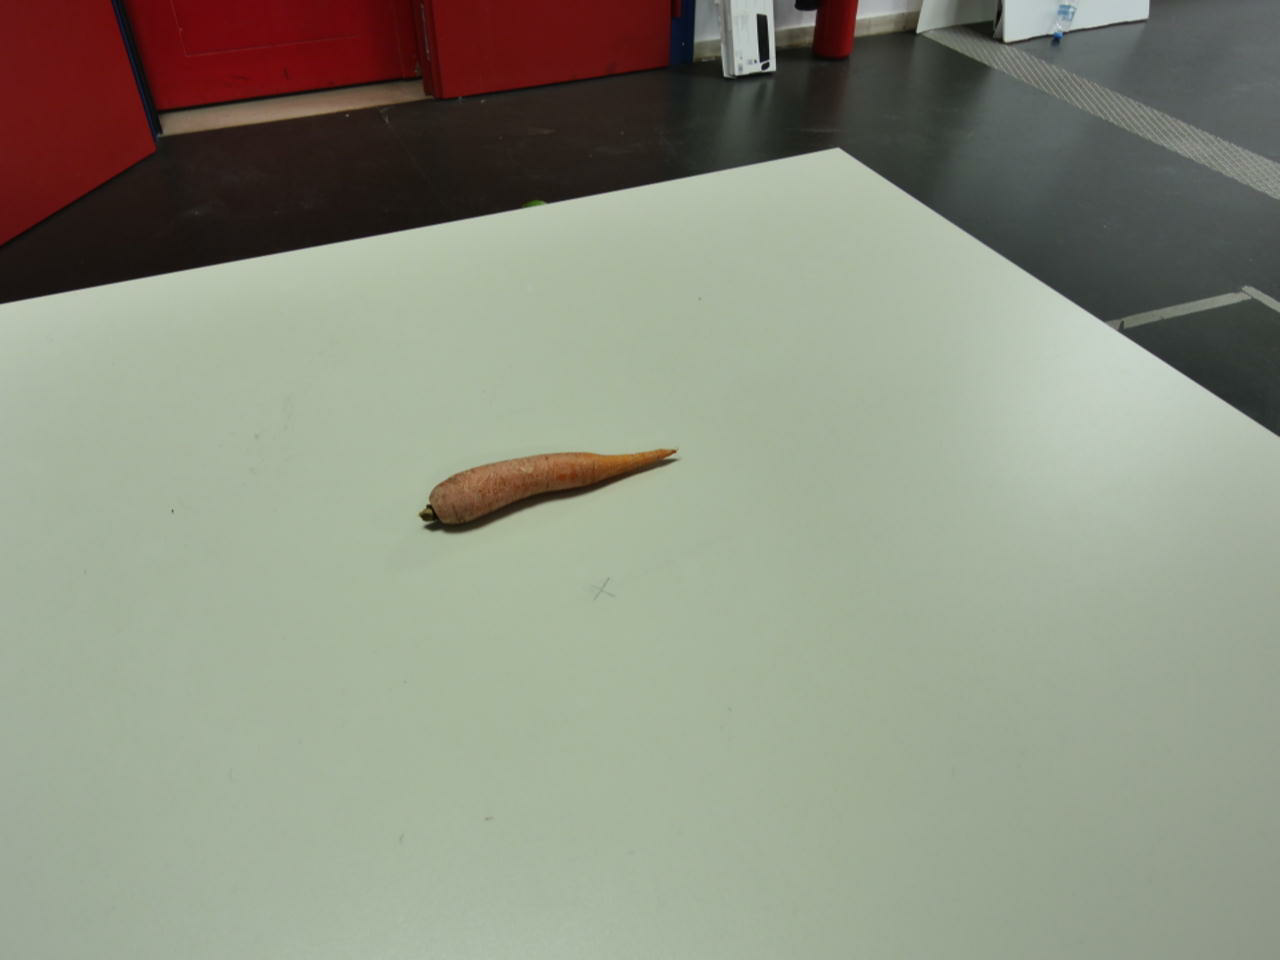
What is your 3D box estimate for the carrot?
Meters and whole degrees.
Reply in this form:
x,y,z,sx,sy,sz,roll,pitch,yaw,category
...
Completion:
x,y,z,sx,sy,sz,roll,pitch,yaw,category
-0.053,-0.005,0.604,0.163,0.029,0.031,-16,42,-19,carrot
